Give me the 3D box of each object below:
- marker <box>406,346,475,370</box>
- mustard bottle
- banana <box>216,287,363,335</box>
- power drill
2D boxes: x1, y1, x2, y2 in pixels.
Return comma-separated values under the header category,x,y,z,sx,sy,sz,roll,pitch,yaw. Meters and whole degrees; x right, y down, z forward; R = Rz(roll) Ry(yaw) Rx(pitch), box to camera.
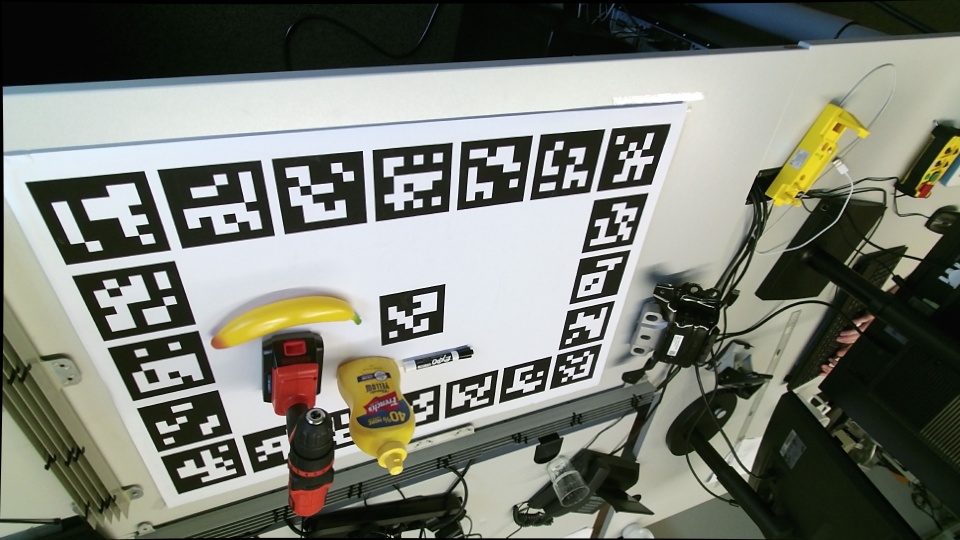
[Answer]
category,x,y,z,sx,sy,sz,roll,pitch,yaw
marker,-0.065,0.151,0.920,0.121,0.019,0.019,-9,125,-22
mustard bottle,-0.148,0.210,0.806,0.096,0.191,0.058,0,122,-26
banana,-0.259,0.059,0.747,0.198,0.039,0.074,-4,123,-26
power drill,-0.236,0.183,0.721,0.057,0.186,0.184,2,124,-27
